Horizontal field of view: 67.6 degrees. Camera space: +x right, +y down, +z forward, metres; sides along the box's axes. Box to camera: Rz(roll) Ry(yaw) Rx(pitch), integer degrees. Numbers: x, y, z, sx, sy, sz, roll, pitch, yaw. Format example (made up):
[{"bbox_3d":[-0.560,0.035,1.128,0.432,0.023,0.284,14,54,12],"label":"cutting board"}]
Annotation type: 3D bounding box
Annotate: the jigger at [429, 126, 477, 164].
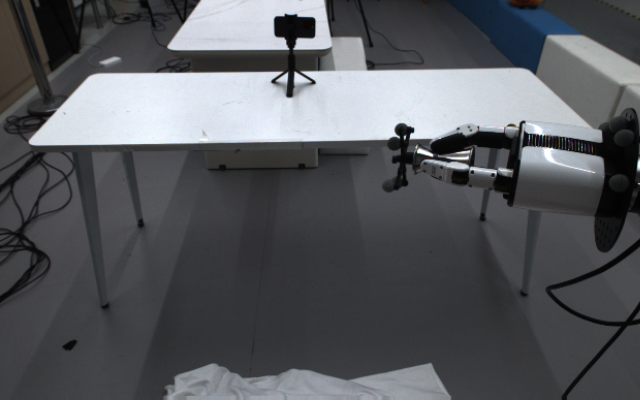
[{"bbox_3d":[0.158,-0.051,0.595,0.071,0.043,0.043,8,34,23],"label":"jigger"}]
